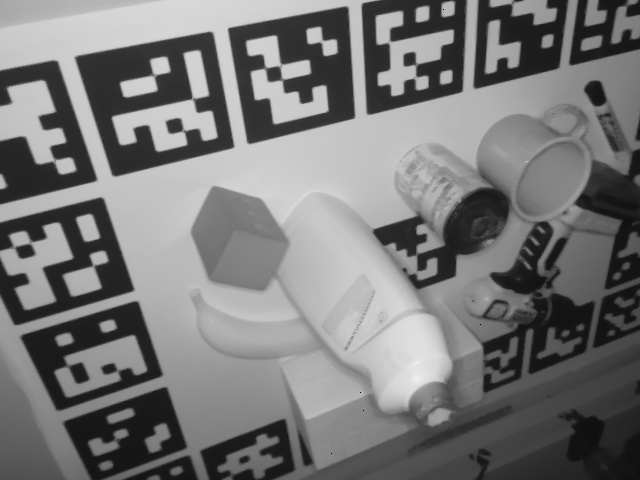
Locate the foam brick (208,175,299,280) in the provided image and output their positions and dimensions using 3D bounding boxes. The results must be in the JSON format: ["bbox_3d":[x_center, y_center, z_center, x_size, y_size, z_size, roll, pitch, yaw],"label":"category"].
[{"bbox_3d":[-0.056,-0.011,0.600,0.053,0.078,0.051,17,114,-32],"label":"foam brick"}]

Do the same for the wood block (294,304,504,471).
[{"bbox_3d":[0.086,0.158,0.754,0.208,0.091,0.089,-16,123,-14],"label":"wood block"}]

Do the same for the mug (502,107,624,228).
[{"bbox_3d":[0.241,-0.080,0.682,0.094,0.081,0.116,29,102,-31],"label":"mug"}]

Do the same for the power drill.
[{"bbox_3d":[0.293,0.021,0.787,0.186,0.057,0.185,13,114,-26],"label":"power drill"}]

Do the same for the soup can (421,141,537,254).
[{"bbox_3d":[0.144,-0.041,0.645,0.068,0.102,0.067,-11,127,-14],"label":"soup can"}]

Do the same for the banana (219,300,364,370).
[{"bbox_3d":[-0.005,0.094,0.704,0.200,0.038,0.074,0,105,-21],"label":"banana"}]

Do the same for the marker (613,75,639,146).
[{"bbox_3d":[0.339,-0.128,0.738,0.019,0.019,0.121,-41,125,2],"label":"marker"}]

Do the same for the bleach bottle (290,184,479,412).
[{"bbox_3d":[0.052,0.050,0.575,0.069,0.250,0.101,13,115,-29],"label":"bleach bottle"}]
